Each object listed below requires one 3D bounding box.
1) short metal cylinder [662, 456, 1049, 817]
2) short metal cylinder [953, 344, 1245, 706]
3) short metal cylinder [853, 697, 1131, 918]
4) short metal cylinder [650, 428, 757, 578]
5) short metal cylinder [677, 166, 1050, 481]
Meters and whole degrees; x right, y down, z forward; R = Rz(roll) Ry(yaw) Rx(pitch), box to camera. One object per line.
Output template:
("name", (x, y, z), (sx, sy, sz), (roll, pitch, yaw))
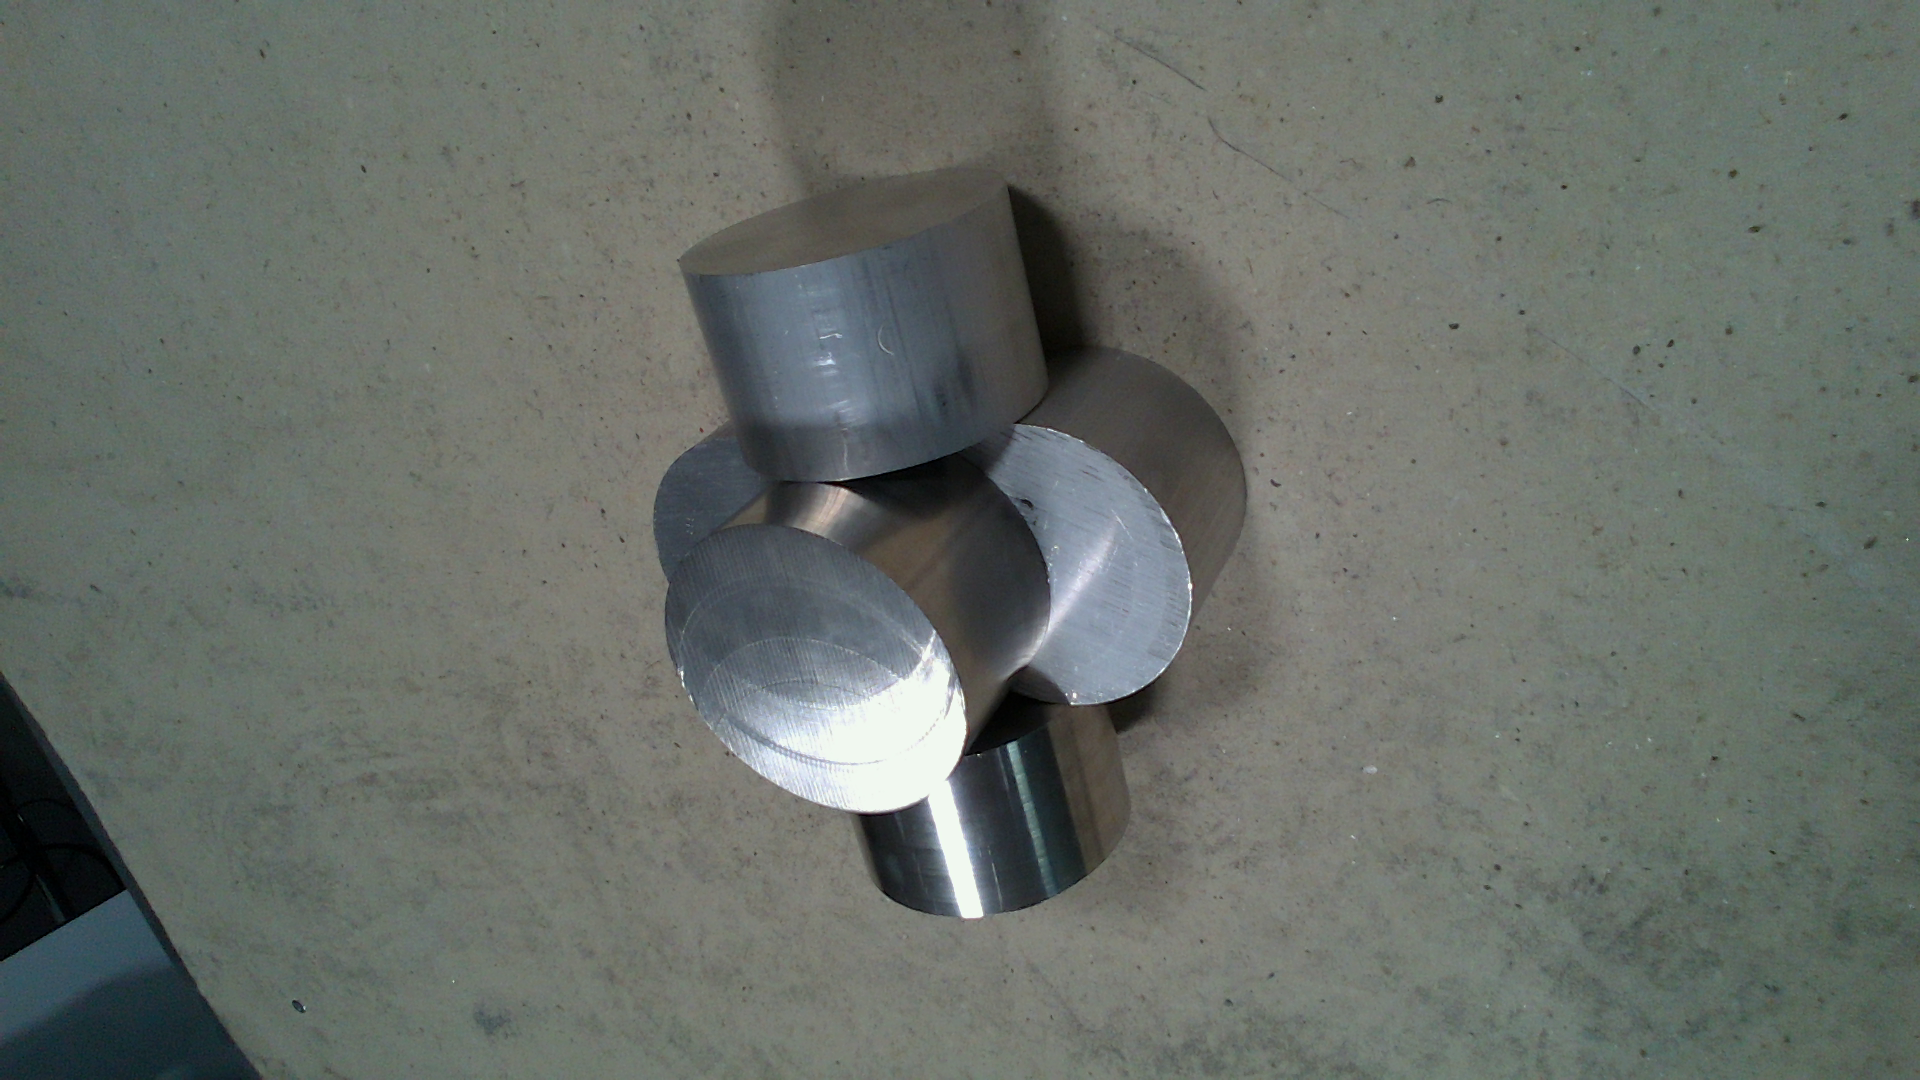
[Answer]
("short metal cylinder", (-0.025, 0.020, 0.337), (0.080, 0.050, 0.080), (13, 124, 21))
("short metal cylinder", (0.029, -0.004, 0.359), (0.080, 0.050, 0.080), (13, 124, 21))
("short metal cylinder", (0.005, 0.061, 0.393), (0.080, 0.080, 0.050), (0, 119, 28))
("short metal cylinder", (-0.041, -0.004, 0.396), (0.080, 0.050, 0.080), (13, 124, 21))
("short metal cylinder", (-0.022, -0.055, 0.336), (0.080, 0.080, 0.050), (0, 118, 28))
